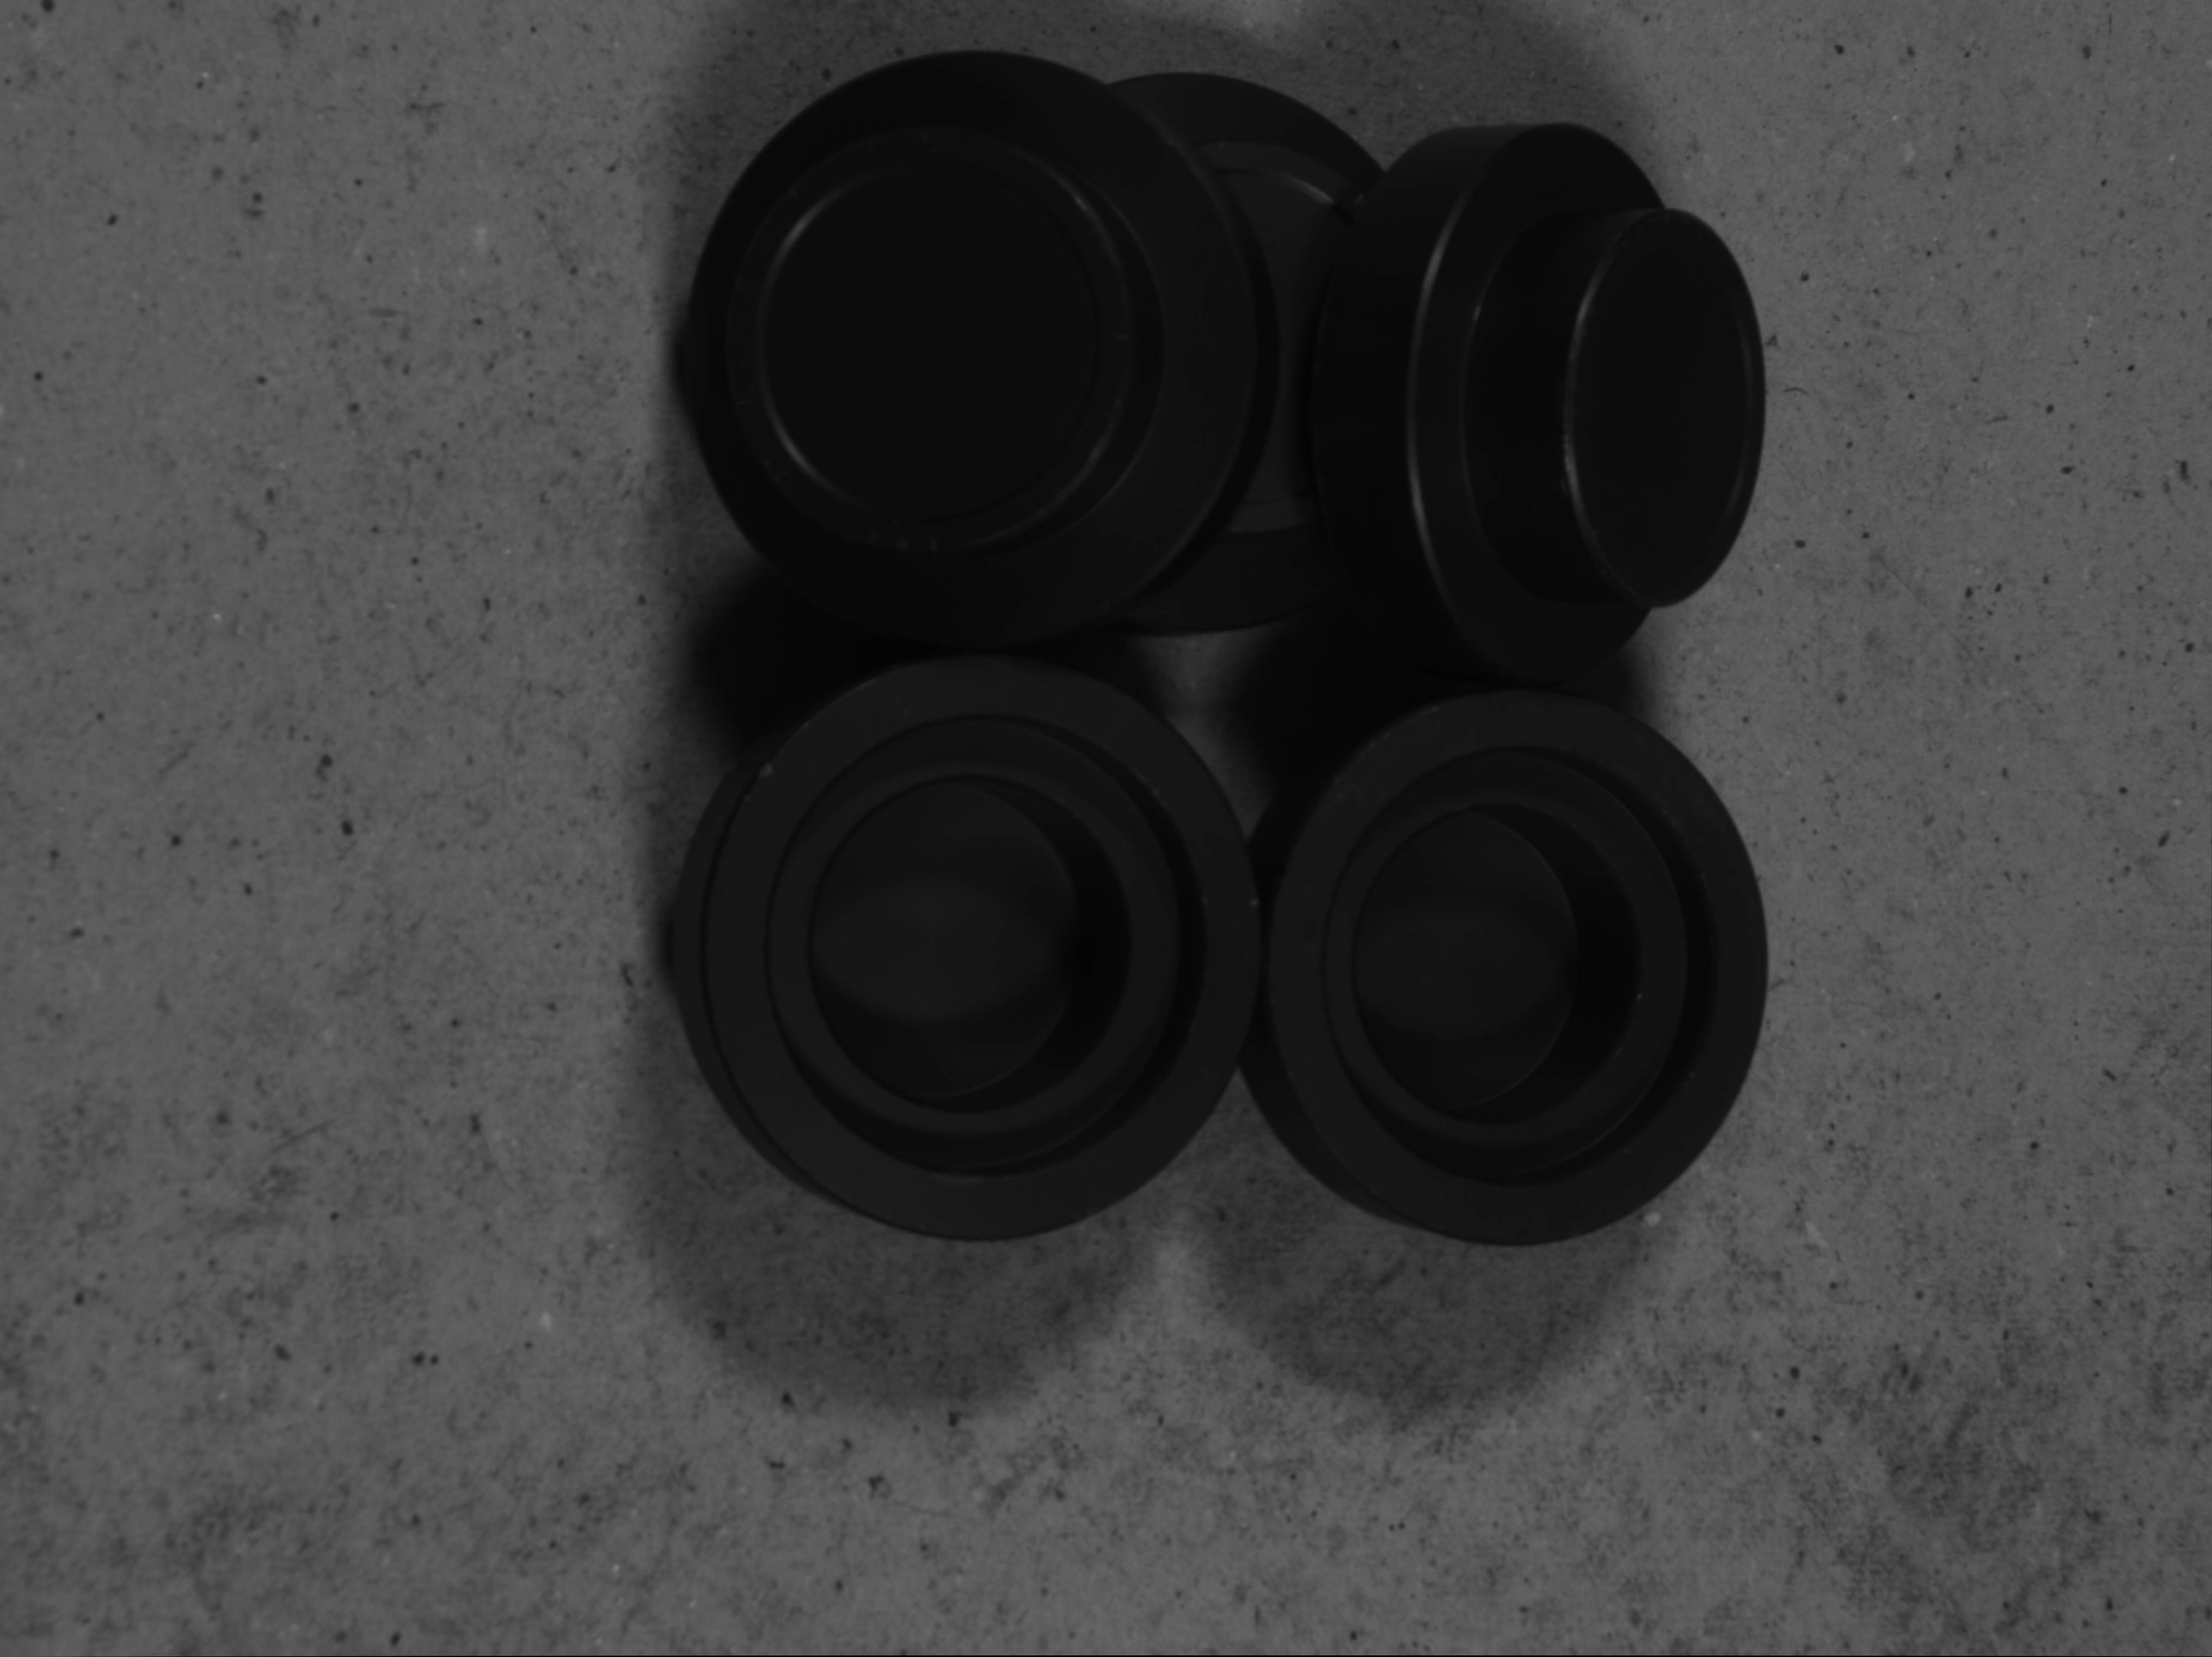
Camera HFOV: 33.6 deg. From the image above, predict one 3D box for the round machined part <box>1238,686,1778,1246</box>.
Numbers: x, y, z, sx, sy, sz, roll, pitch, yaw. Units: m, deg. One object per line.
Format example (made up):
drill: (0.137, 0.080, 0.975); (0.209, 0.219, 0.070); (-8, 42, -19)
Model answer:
round machined part: (0.068, 0.024, 0.659); (0.098, 0.042, 0.098); (0, 90, -20)

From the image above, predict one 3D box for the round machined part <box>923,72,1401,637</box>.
round machined part: (0.019, -0.084, 0.641); (0.098, 0.042, 0.098); (0, 90, -20)

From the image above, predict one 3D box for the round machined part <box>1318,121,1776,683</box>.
round machined part: (0.083, -0.074, 0.641); (0.098, 0.042, 0.098); (-10, 103, -50)

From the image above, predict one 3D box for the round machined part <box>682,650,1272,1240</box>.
round machined part: (-0.025, 0.019, 0.625); (0.098, 0.042, 0.098); (0, 90, -20)

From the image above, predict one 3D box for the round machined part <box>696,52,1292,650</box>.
round machined part: (-0.021, -0.078, 0.602); (0.098, 0.042, 0.098); (1, 93, 13)
